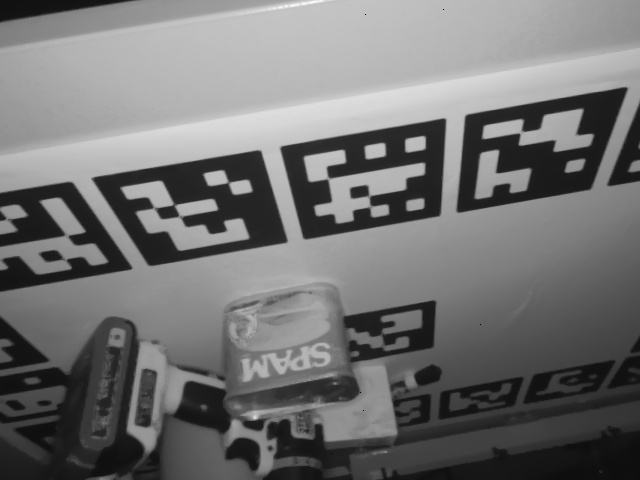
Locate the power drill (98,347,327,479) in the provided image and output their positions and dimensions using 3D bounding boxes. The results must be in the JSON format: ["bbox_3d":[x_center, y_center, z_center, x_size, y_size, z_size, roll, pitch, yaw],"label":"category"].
[{"bbox_3d":[-0.080,0.174,0.579,0.189,0.186,0.056,19,130,-22],"label":"power drill"}]

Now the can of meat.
[{"bbox_3d":[-0.026,0.087,0.562,0.102,0.084,0.057,-9,142,0],"label":"can of meat"}]

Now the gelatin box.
[{"bbox_3d":[0.019,0.179,0.692,0.090,0.074,0.030,-1,135,-8],"label":"gelatin box"}]

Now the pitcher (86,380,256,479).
[{"bbox_3d":[-0.114,0.263,0.642,0.191,0.243,0.131,9,134,-30],"label":"pitcher"}]

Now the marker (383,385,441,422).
[{"bbox_3d":[0.076,0.186,0.751,0.120,0.020,0.020,-28,136,18],"label":"marker"}]
